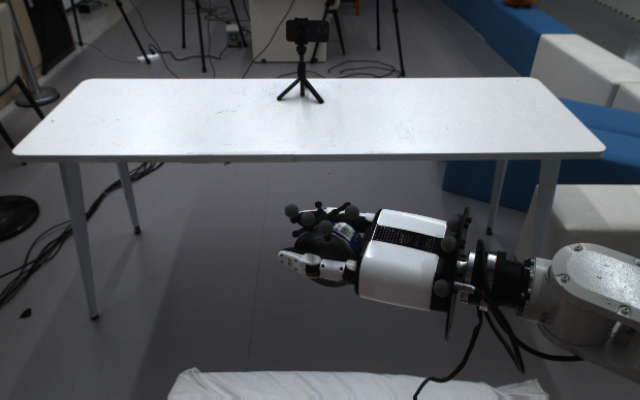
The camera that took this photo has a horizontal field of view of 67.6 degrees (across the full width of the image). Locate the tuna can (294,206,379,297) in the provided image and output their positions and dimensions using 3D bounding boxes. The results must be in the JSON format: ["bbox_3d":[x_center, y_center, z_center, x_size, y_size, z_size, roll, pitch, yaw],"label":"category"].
[{"bbox_3d":[0.016,0.070,0.602,0.085,0.085,0.034,15,34,17],"label":"tuna can"}]
